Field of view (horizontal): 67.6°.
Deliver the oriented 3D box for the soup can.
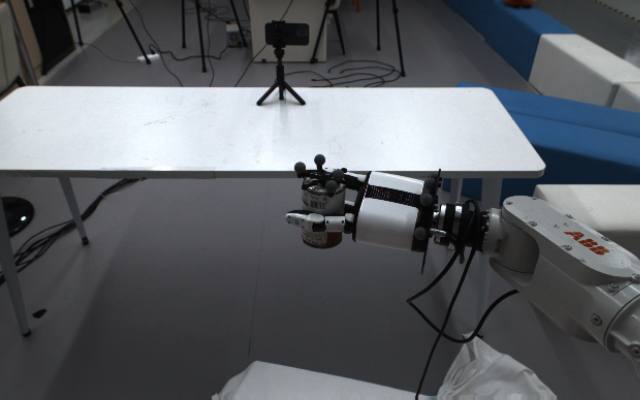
[{"bbox_3d":[0.005,0.016,0.749,0.067,0.101,0.067,2,32,-1],"label":"soup can"}]
